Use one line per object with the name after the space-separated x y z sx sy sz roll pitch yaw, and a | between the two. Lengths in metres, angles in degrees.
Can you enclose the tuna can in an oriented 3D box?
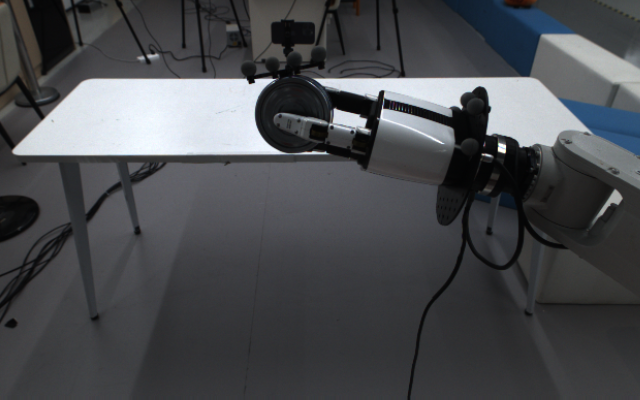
-0.025 -0.091 0.542 0.085 0.085 0.034 6 18 5 | tuna can
